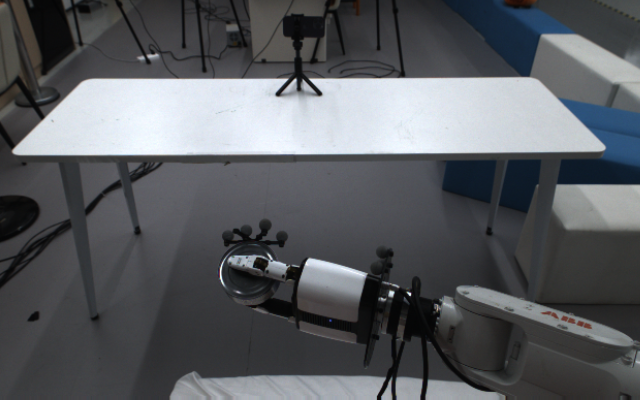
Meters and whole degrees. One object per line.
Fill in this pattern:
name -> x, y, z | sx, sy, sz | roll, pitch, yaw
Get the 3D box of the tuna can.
tuna can -> -0.096, 0.107, 0.674 | 0.085, 0.034, 0.085 | -1, 58, 2
